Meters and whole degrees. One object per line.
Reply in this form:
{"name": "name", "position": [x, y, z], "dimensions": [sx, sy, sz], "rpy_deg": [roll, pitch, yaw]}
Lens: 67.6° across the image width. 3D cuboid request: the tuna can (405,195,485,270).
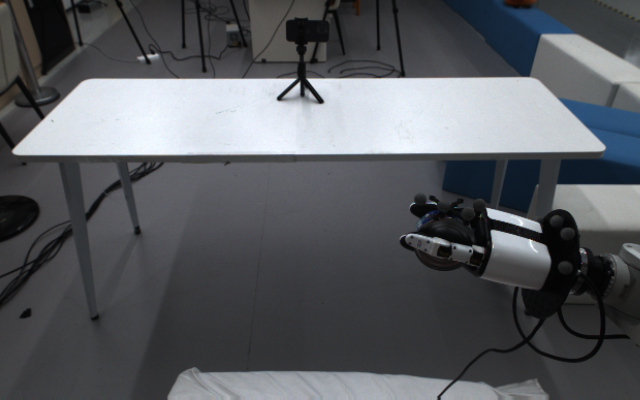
{"name": "tuna can", "position": [0.179, 0.056, 0.692], "dimensions": [0.085, 0.085, 0.034], "rpy_deg": [7, 21, 7]}
